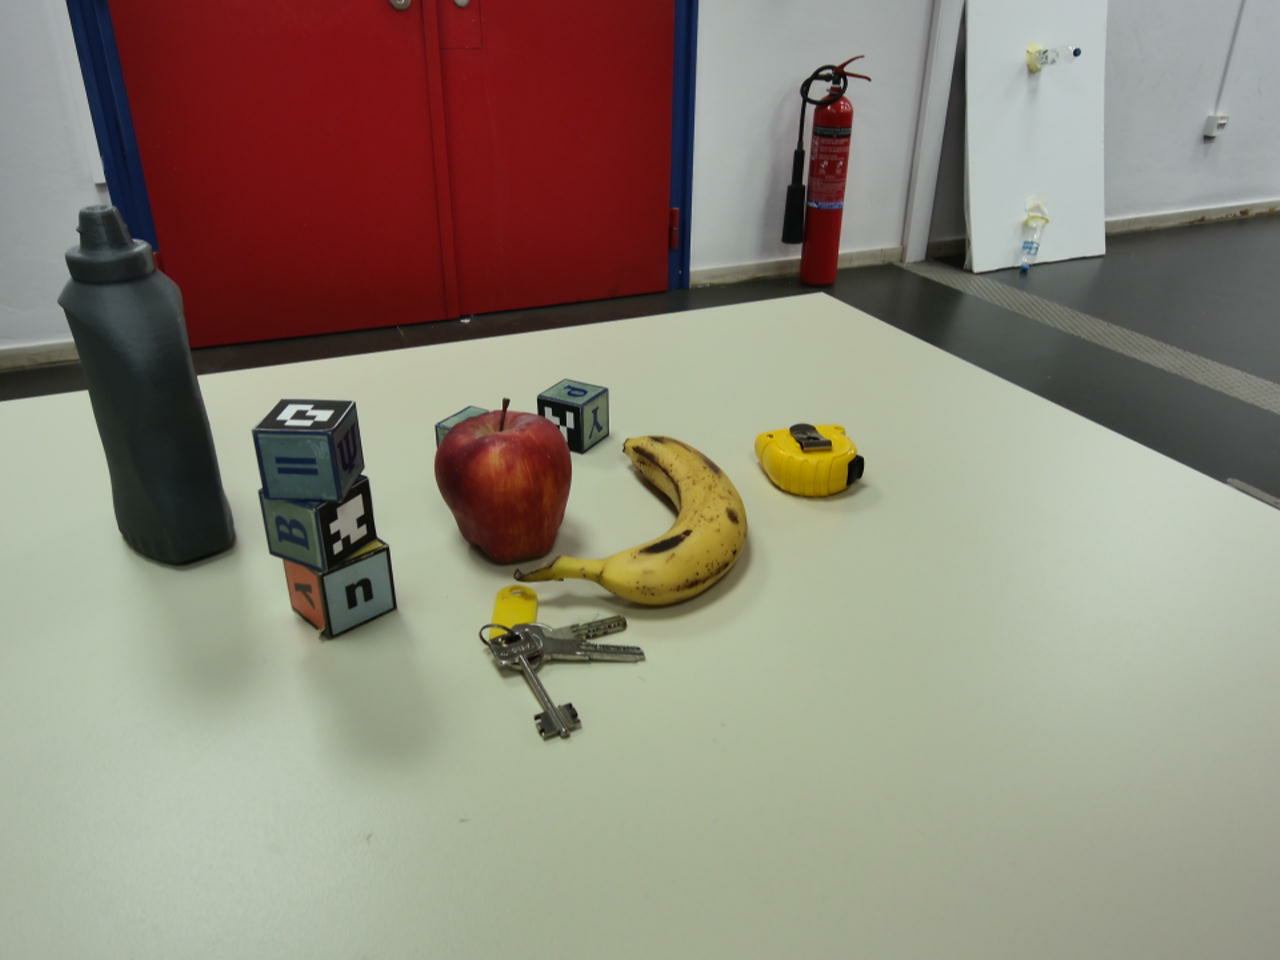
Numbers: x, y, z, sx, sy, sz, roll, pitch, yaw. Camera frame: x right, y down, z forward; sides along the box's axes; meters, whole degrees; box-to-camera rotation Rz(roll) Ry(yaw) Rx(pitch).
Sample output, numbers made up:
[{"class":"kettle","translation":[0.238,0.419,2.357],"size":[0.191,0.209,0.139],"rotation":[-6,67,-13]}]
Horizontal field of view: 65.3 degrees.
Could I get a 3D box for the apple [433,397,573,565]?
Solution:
[{"class":"apple","translation":[-0.077,-0.003,0.568],"size":[0.083,0.090,0.083],"rotation":[0,26,0]}]
